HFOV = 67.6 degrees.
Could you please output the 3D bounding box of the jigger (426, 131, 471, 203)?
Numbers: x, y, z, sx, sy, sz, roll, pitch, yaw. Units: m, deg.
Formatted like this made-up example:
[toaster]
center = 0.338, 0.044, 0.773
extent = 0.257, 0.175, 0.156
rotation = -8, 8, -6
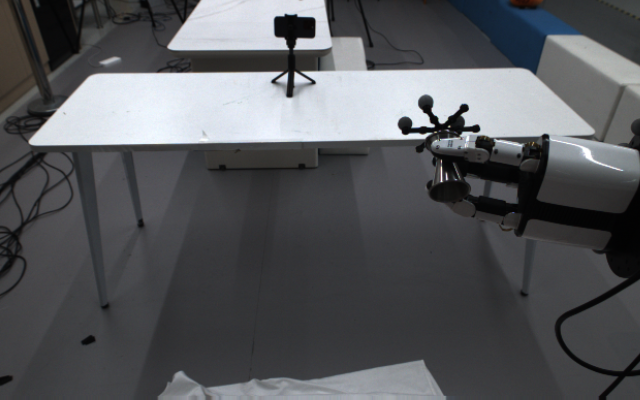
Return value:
[jigger]
center = 0.138, -0.040, 0.528
extent = 0.043, 0.043, 0.071
rotation = 2, 59, -1
